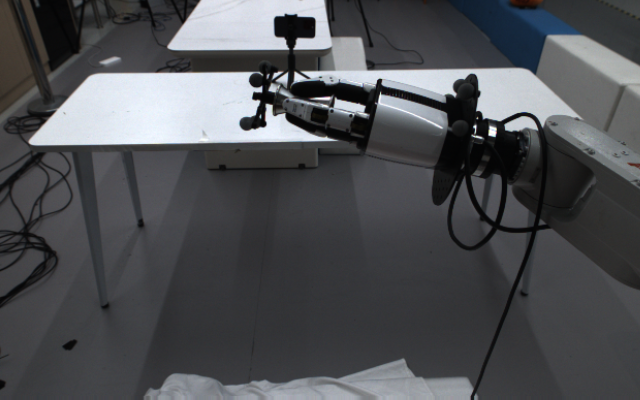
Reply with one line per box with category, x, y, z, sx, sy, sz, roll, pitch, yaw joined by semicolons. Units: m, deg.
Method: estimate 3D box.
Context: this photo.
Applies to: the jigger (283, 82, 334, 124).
jigger;-0.014;-0.117;0.592;0.071;0.043;0.043;14;36;4
